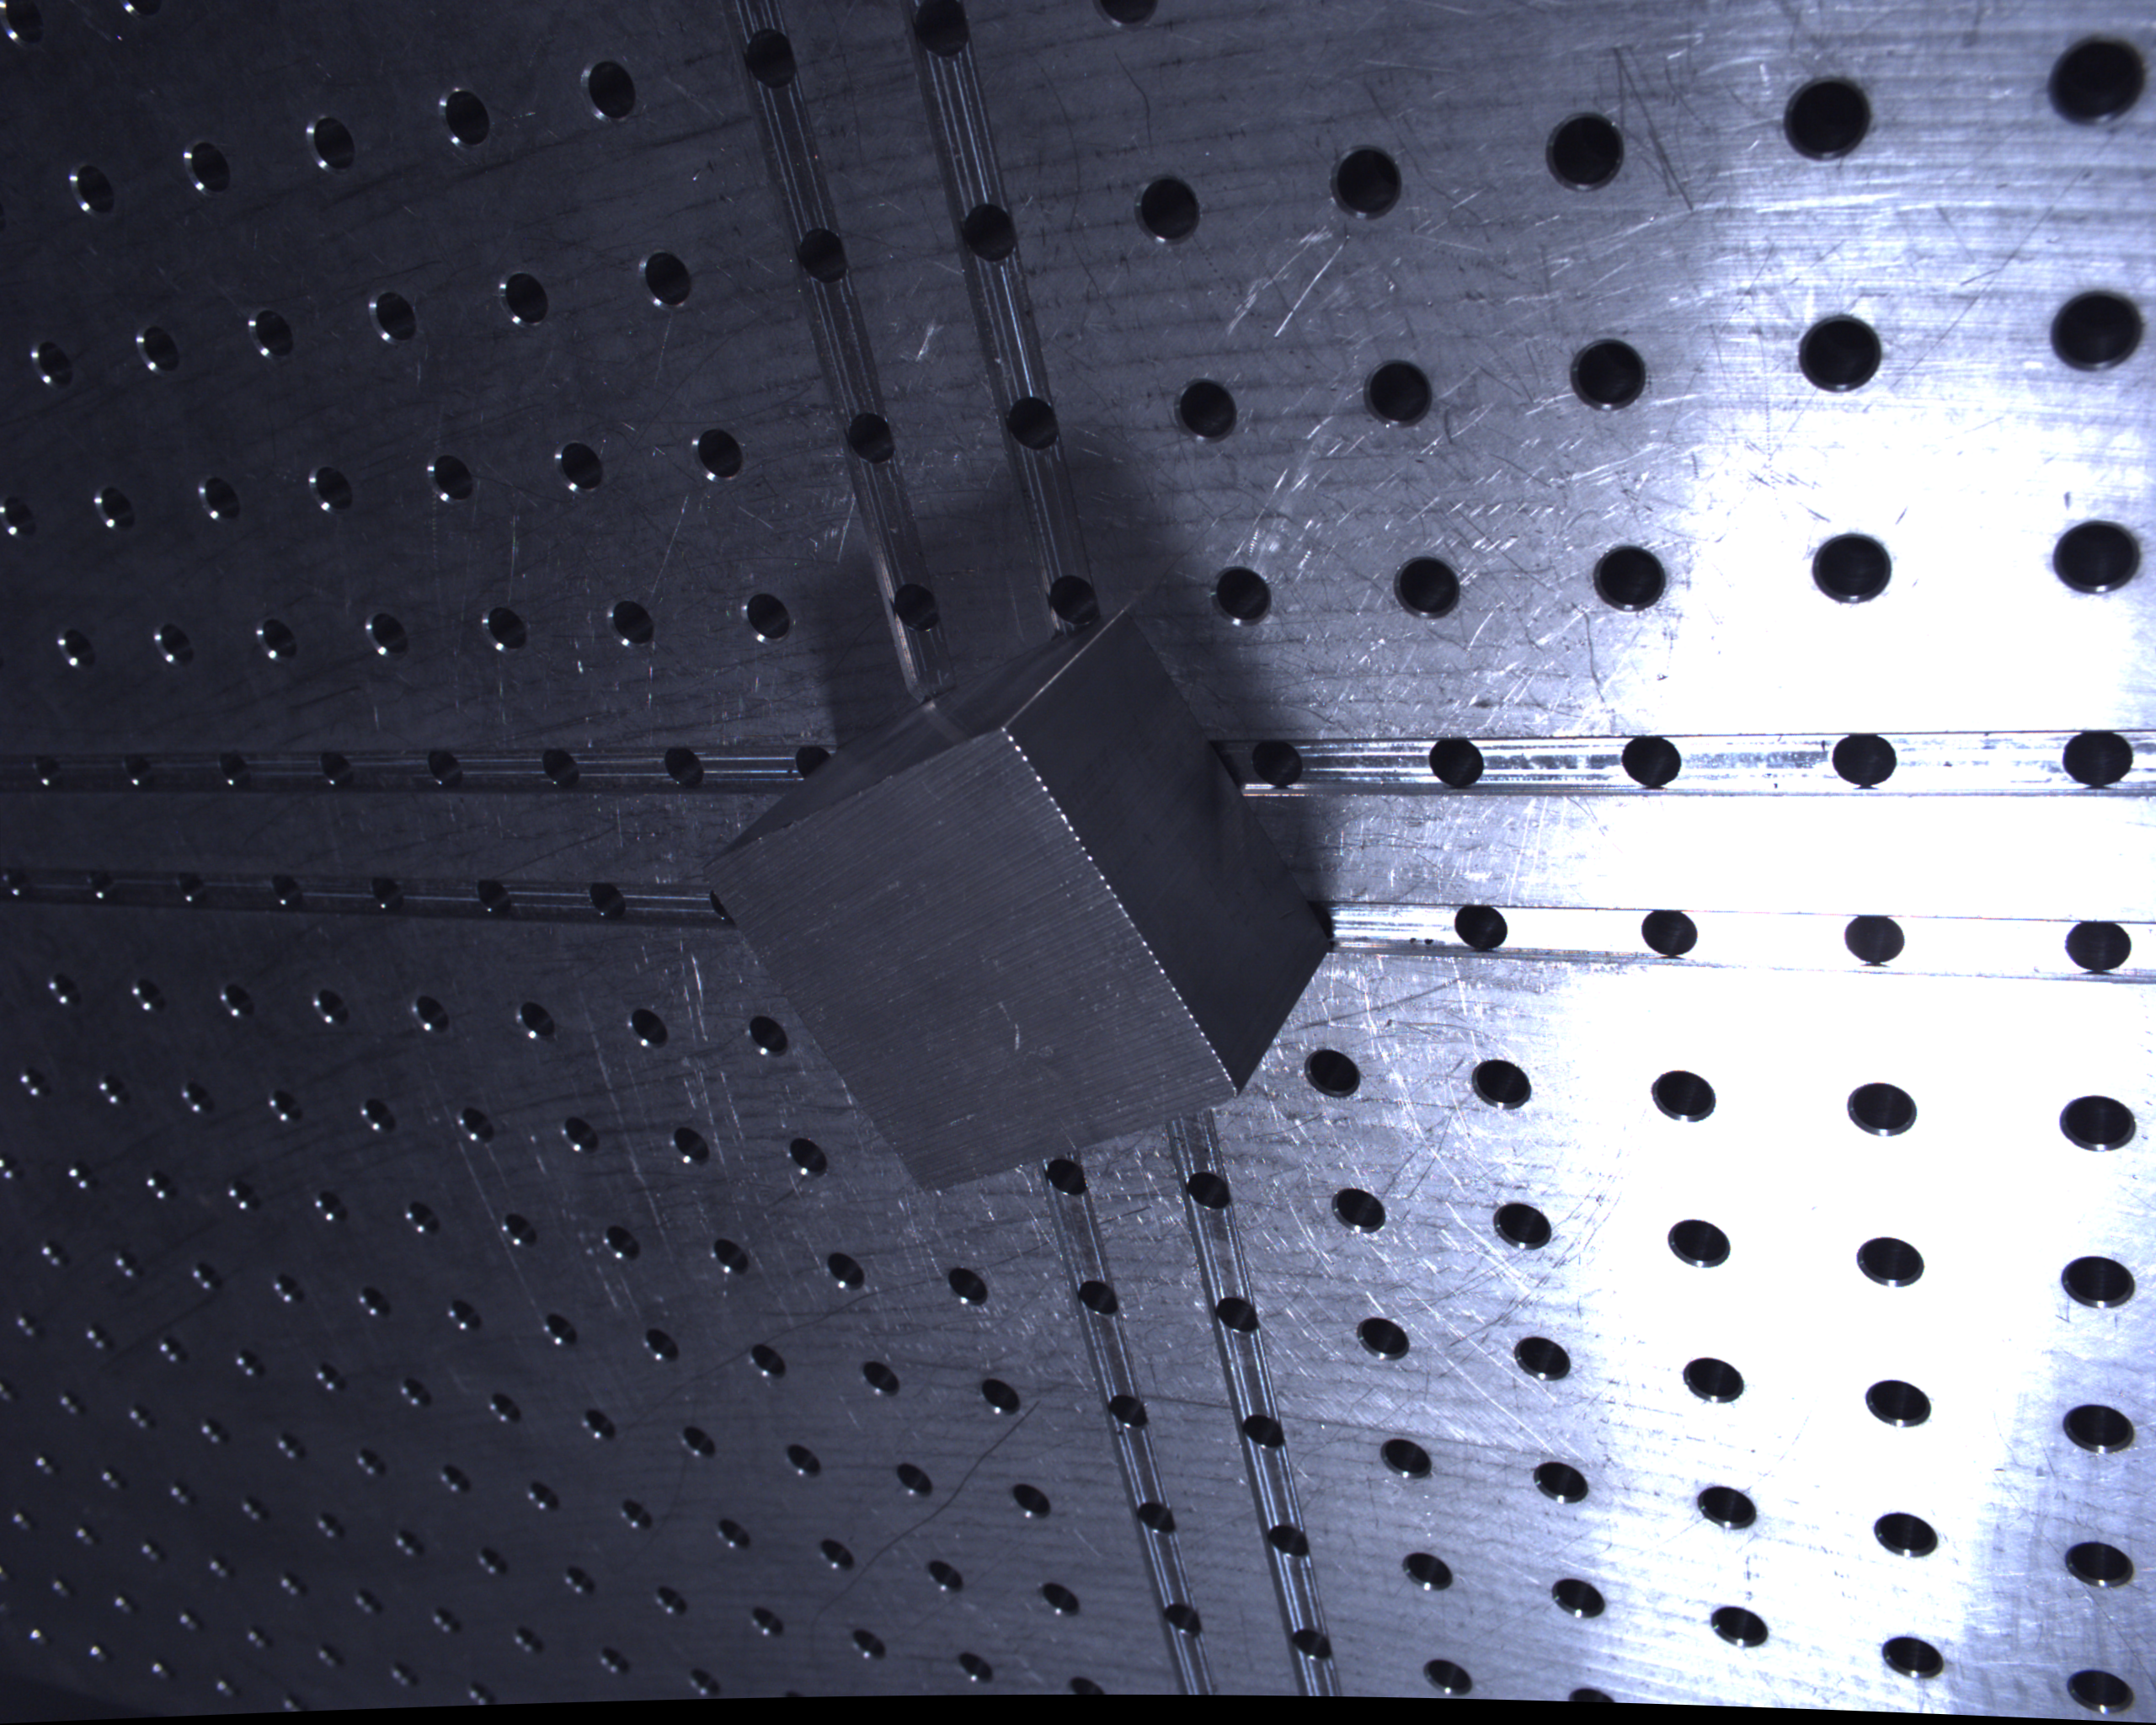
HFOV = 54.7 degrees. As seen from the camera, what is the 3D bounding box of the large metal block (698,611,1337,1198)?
[{"bbox_3d":[-0.011,0.010,0.402,0.080,0.050,0.080,-23,107,36],"label":"large metal block"}]
